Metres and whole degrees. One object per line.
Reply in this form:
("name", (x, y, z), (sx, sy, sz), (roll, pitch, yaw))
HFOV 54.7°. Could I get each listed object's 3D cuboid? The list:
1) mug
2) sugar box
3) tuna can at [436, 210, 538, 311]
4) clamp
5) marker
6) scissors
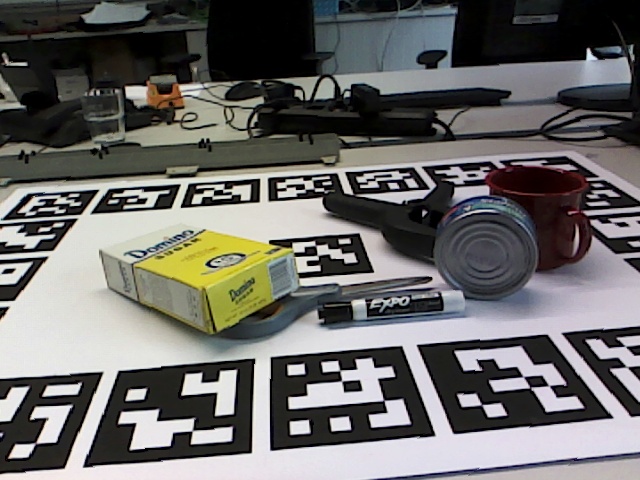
("mug", (0.199, -0.003, 0.595), (0.093, 0.081, 0.118), (-17, 26, -28))
("sugar box", (-0.111, 0.037, 0.559), (0.092, 0.045, 0.178), (-23, 26, -37))
("tuna can", (0.145, 0.019, 0.541), (0.086, 0.085, 0.034), (4, 26, 12))
("clamp", (0.101, -0.010, 0.684), (0.165, 0.036, 0.204), (-8, 27, -13))
("marker", (0.048, 0.070, 0.518), (0.121, 0.019, 0.020), (-6, 27, -6))
("scissors", (-0.002, 0.053, 0.552), (0.202, 0.016, 0.088), (-7, 22, -14))
